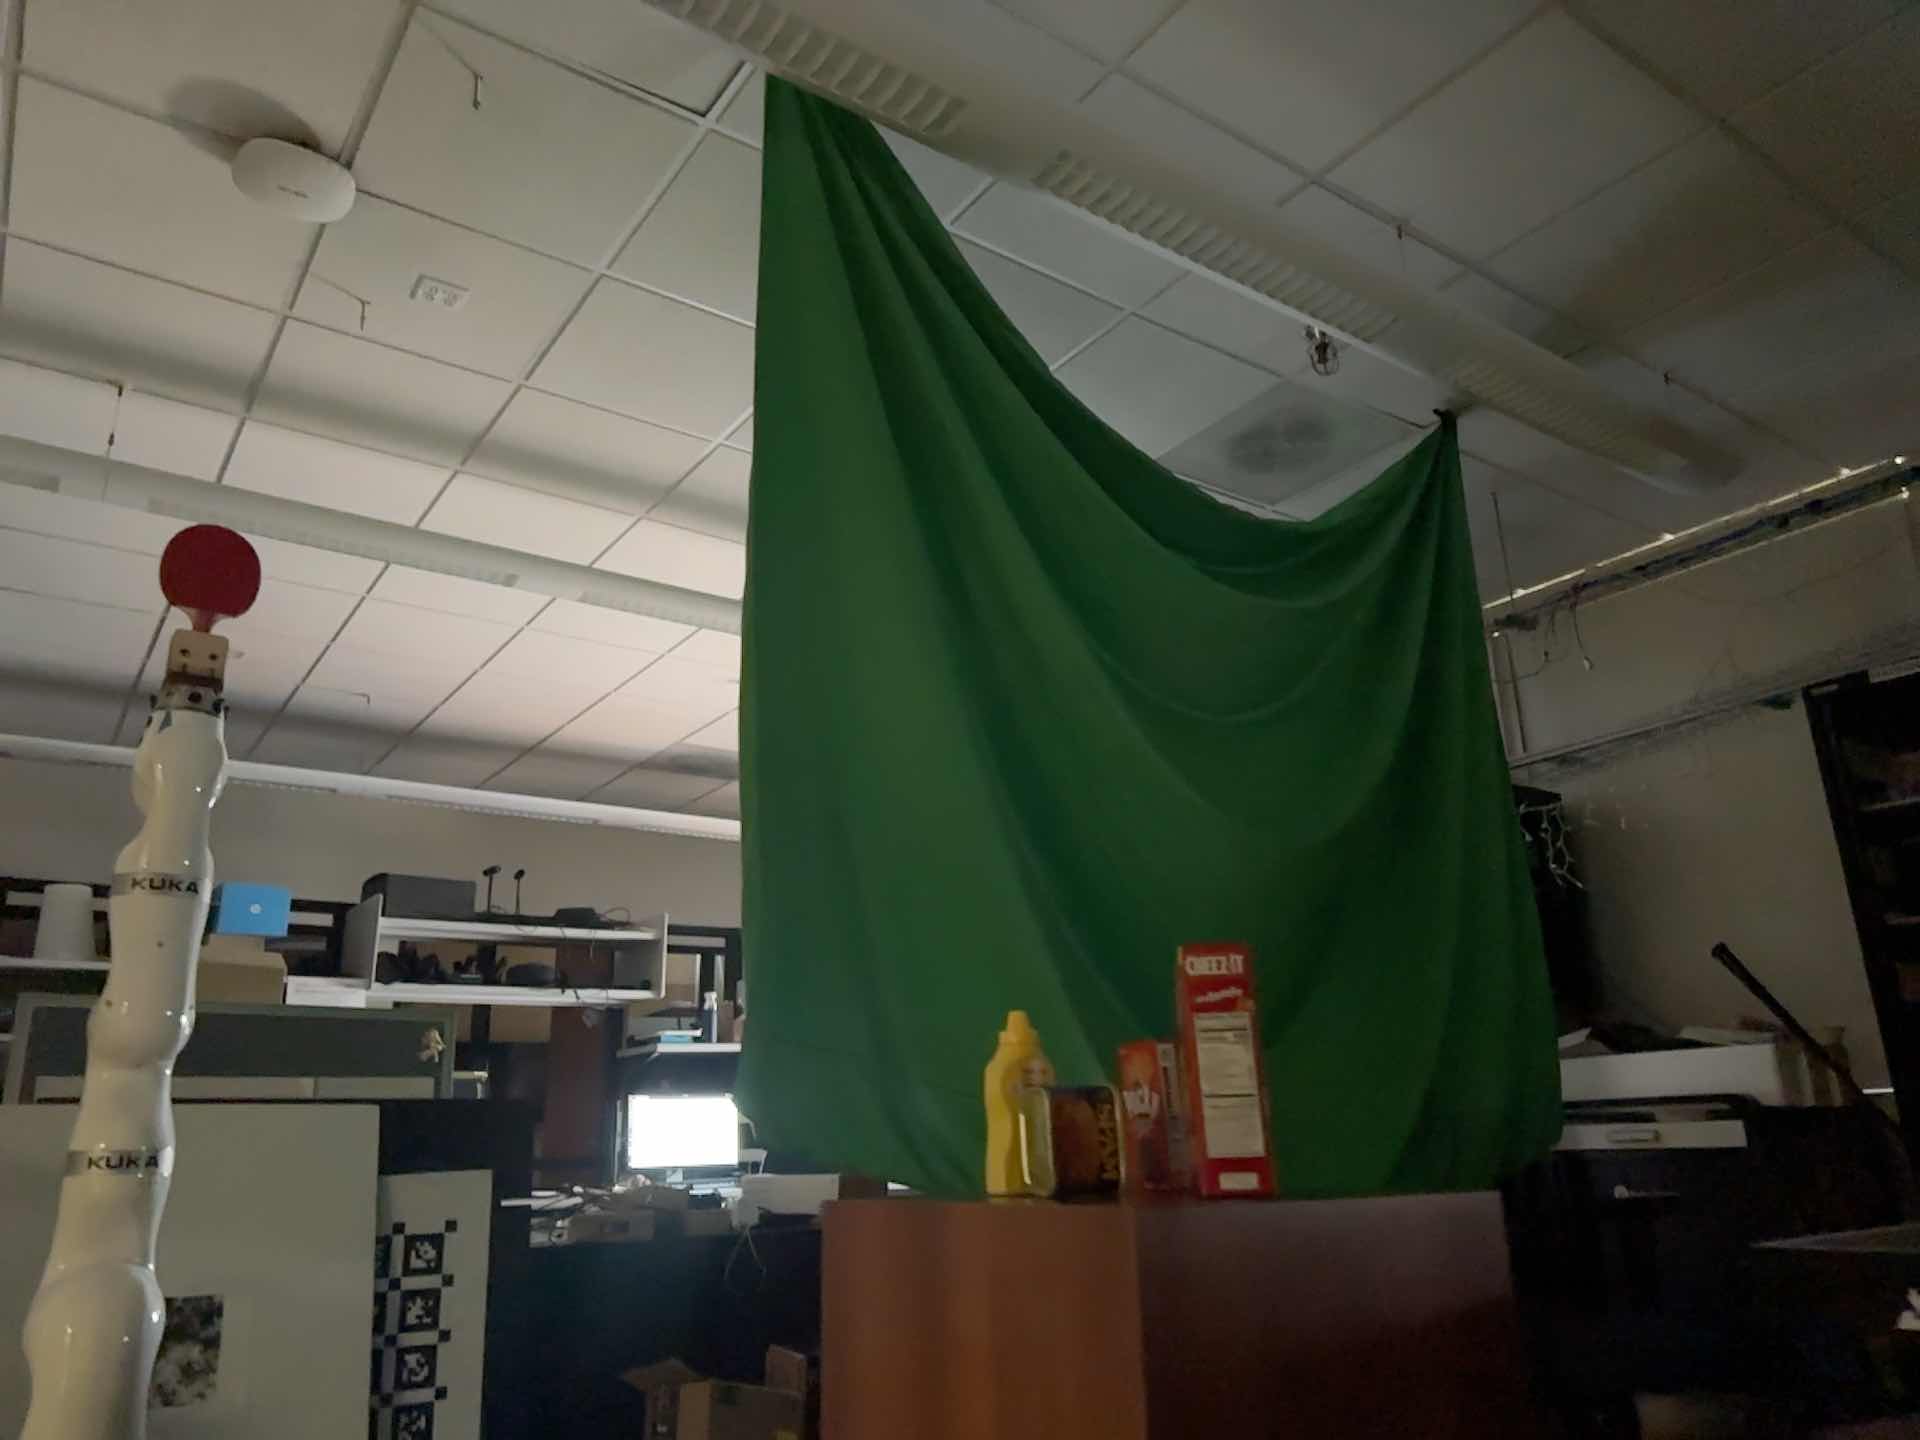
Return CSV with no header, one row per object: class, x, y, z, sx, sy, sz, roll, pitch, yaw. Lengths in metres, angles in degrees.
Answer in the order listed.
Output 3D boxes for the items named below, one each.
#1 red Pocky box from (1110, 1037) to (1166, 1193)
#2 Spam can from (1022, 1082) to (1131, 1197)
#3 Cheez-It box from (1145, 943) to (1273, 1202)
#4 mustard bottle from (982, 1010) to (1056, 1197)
red Pocky box,0.191,0.414,1.413,0.028,0.155,0.083,5,-18,-21
Spam can,0.109,0.398,1.279,0.083,0.100,0.056,7,-19,-28
Cheez-It box,0.227,0.330,1.262,0.062,0.214,0.159,-1,-16,-5
mustard bottle,0.062,0.391,1.381,0.092,0.184,0.054,11,-21,-35
